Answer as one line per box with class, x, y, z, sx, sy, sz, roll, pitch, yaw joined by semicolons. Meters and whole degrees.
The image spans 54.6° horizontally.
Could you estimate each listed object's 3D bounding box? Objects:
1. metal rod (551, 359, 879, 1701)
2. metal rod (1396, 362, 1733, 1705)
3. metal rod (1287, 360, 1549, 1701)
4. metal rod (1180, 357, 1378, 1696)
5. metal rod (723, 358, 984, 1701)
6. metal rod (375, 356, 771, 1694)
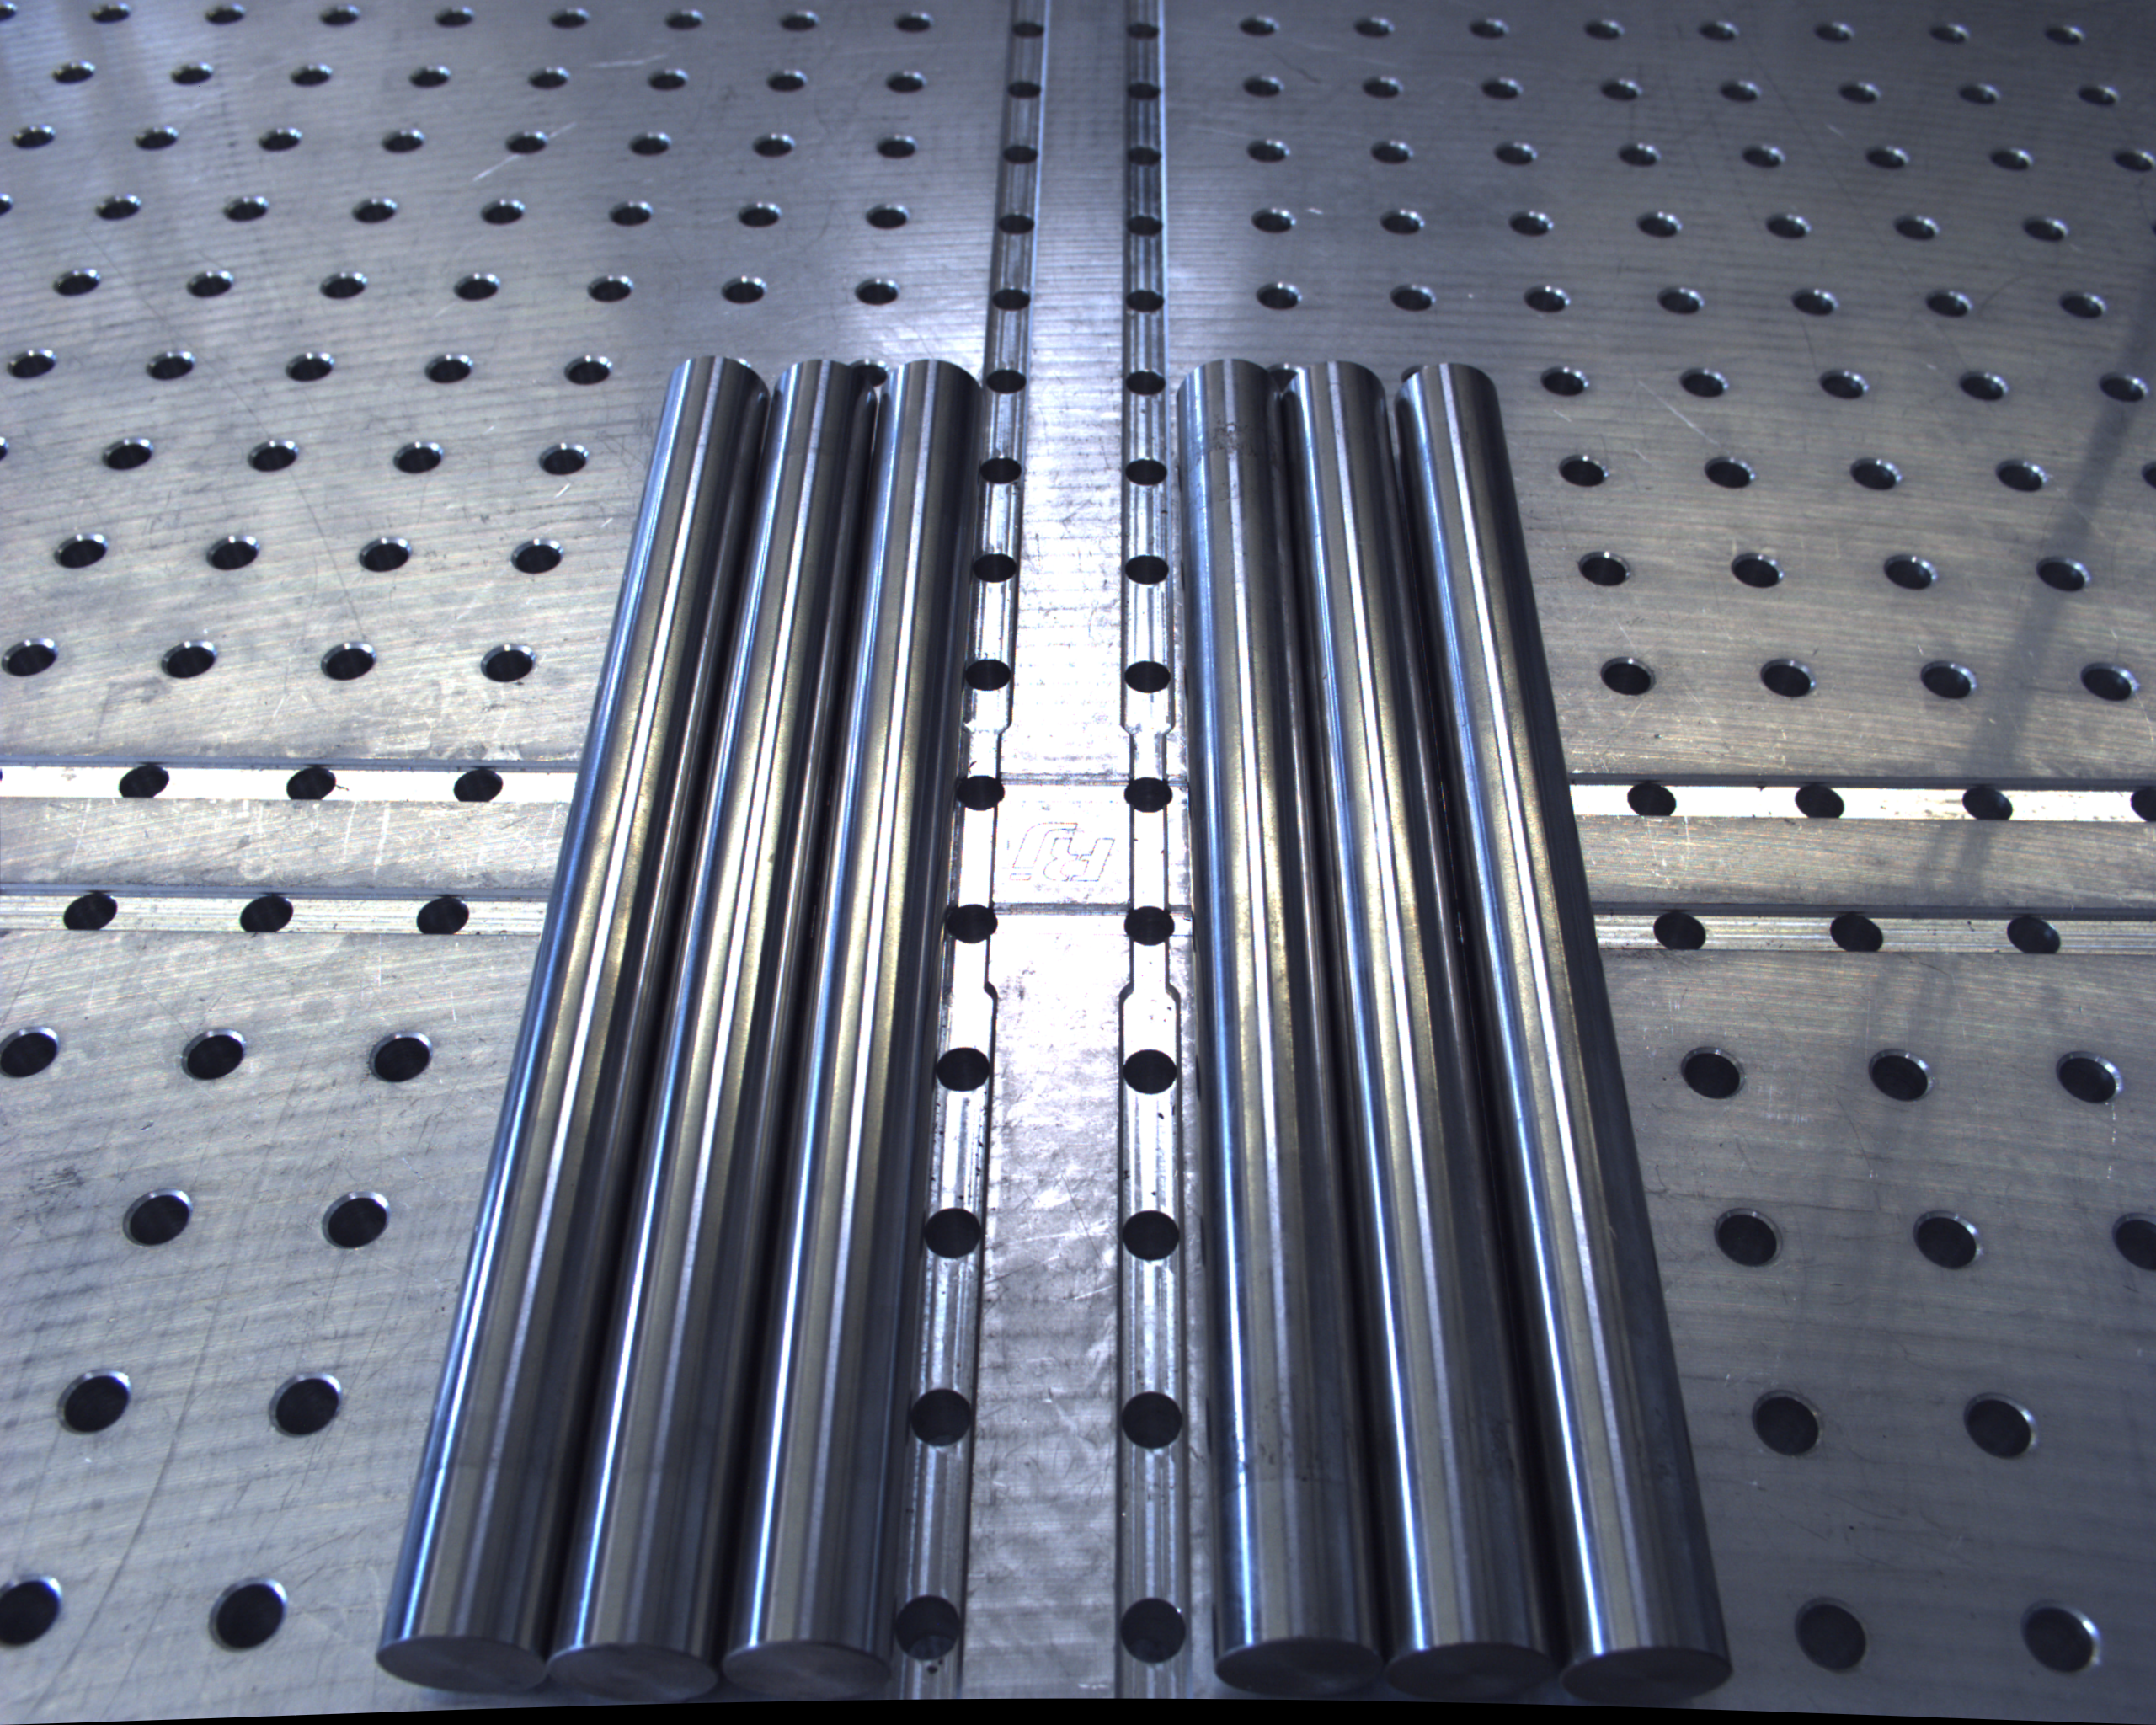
metal rod;-0.062;0.004;0.403;0.025;0.025;0.300;1;50;1
metal rod;0.086;0.005;0.403;0.025;0.025;0.300;1;50;1
metal rod;0.059;0.004;0.404;0.025;0.025;0.300;1;50;1
metal rod;0.034;0.004;0.404;0.025;0.025;0.300;1;50;1
metal rod;-0.037;0.004;0.403;0.025;0.025;0.300;1;50;1
metal rod;-0.088;0.004;0.404;0.025;0.025;0.300;1;50;1
